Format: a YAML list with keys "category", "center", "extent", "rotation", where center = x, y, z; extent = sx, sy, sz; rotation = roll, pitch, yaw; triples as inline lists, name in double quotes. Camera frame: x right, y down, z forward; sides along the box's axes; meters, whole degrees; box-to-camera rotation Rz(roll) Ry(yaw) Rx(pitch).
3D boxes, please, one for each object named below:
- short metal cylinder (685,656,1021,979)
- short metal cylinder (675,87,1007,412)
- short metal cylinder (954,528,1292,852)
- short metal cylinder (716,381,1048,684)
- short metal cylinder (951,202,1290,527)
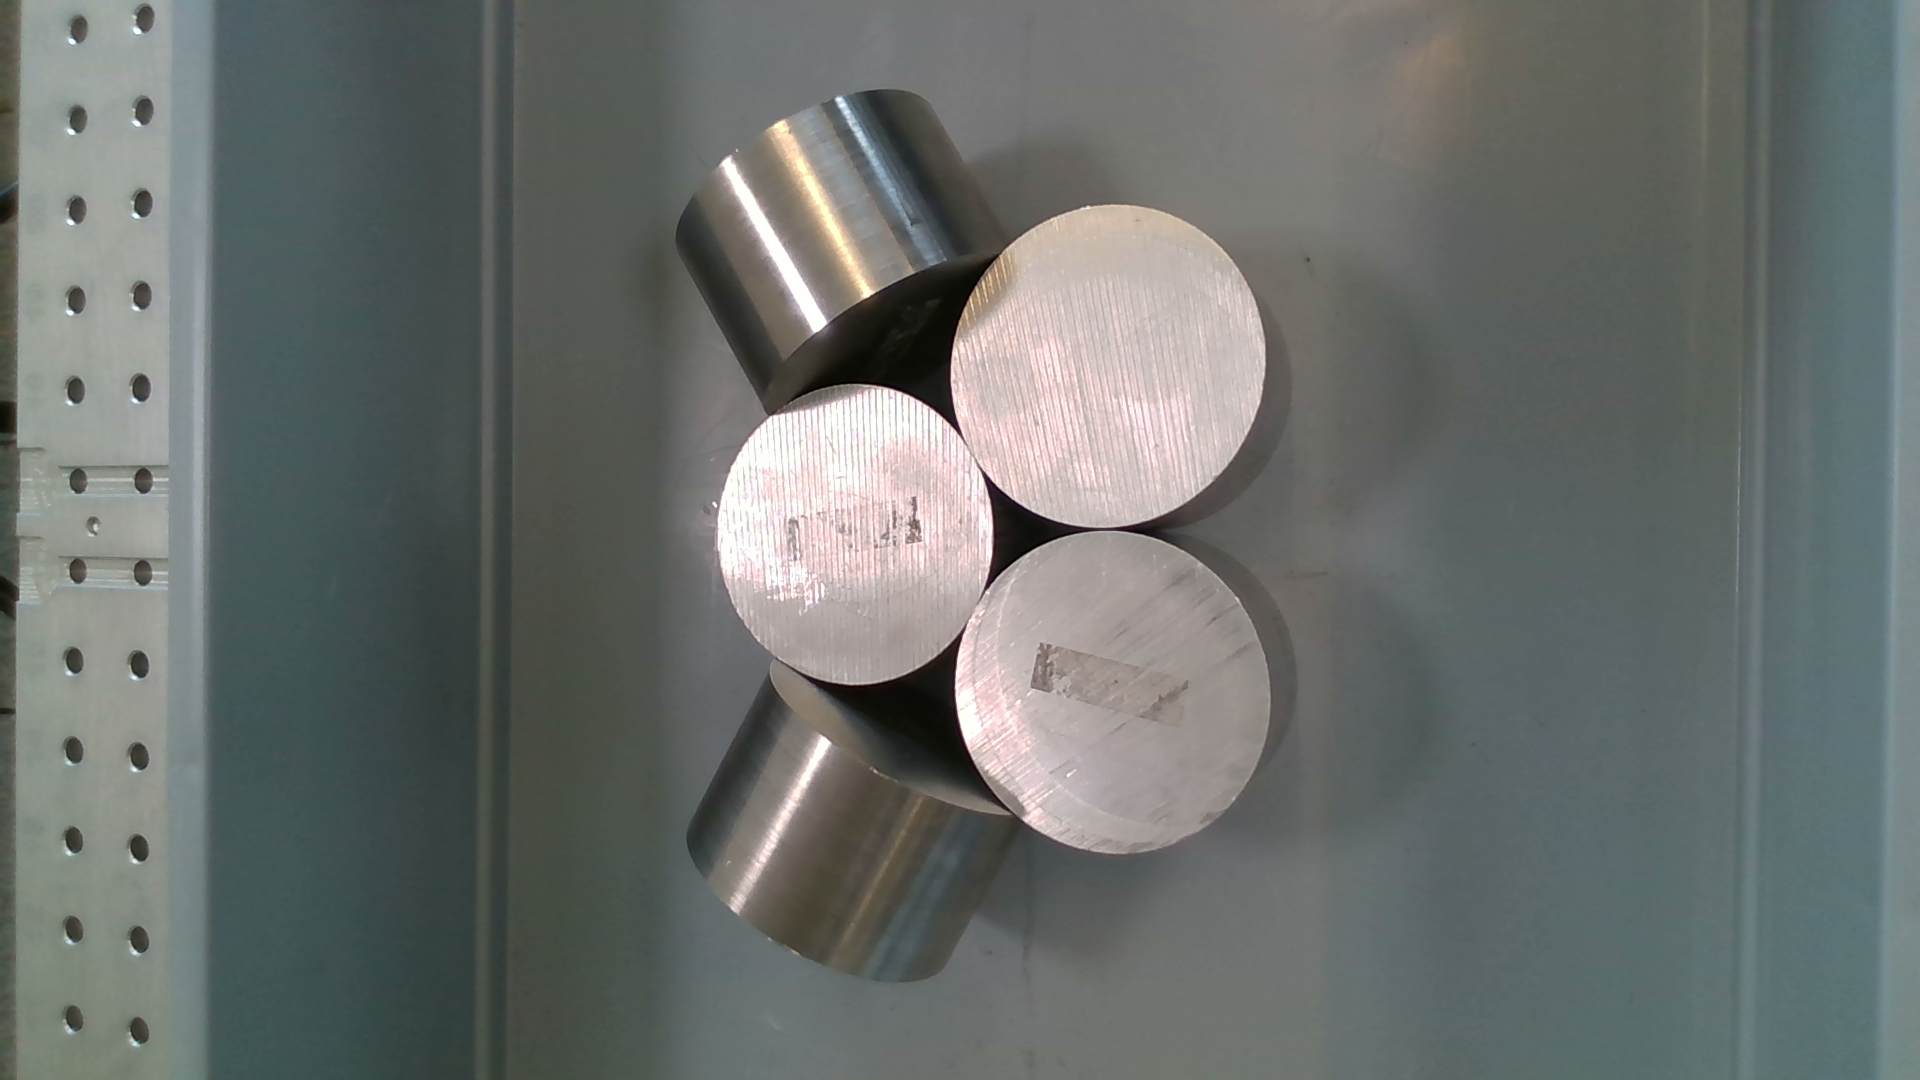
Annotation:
- category: "short metal cylinder"
  center: [-0.027, 0.073, 0.374]
  extent: [0.080, 0.080, 0.050]
  rotation: [31, 100, 17]
- category: "short metal cylinder"
  center: [-0.030, -0.076, 0.374]
  extent: [0.080, 0.080, 0.050]
  rotation: [-32, 80, 17]
- category: "short metal cylinder"
  center: [0.045, 0.037, 0.363]
  extent: [0.080, 0.050, 0.080]
  rotation: [0, 90, 20]
- category: "short metal cylinder"
  center: [-0.021, -0.002, 0.387]
  extent: [0.080, 0.050, 0.080]
  rotation: [0, 90, 20]
- category: "short metal cylinder"
  center: [0.044, -0.043, 0.363]
  extent: [0.080, 0.050, 0.080]
  rotation: [0, 90, 20]
